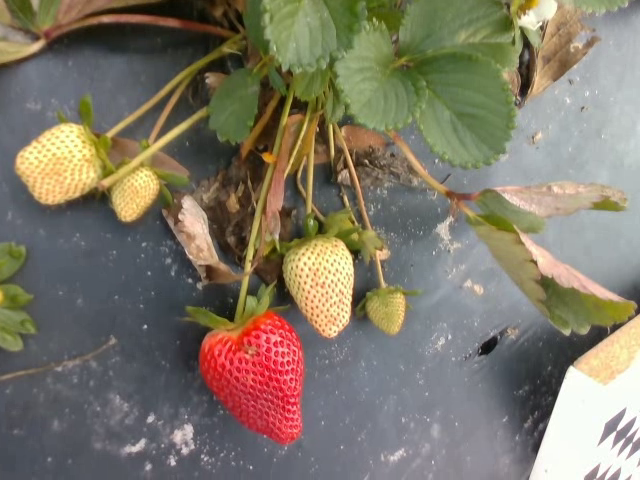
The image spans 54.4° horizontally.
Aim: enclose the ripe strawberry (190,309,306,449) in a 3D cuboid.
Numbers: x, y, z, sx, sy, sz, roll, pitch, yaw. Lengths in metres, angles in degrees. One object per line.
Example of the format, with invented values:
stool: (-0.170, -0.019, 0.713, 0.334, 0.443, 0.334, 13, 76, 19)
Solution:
ripe strawberry: (-0.023, 0.056, 0.247, 0.050, 0.059, 0.033, -29, -6, -20)
